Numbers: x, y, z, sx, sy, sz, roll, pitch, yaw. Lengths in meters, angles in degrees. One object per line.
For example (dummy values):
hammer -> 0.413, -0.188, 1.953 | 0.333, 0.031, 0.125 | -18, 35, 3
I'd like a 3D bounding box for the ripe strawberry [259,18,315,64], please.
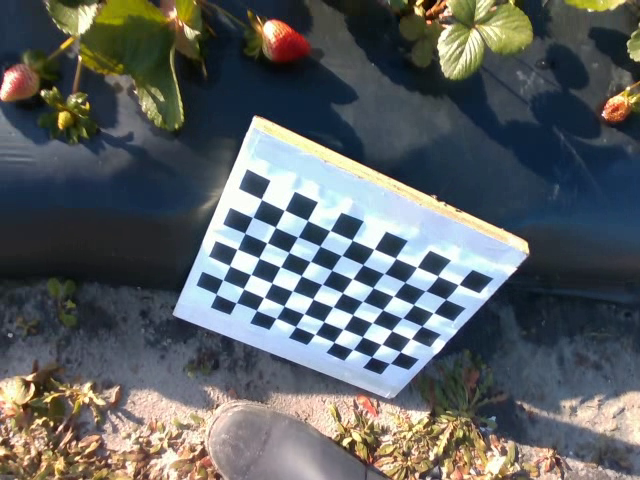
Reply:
ripe strawberry -> -0.031, -0.197, 0.532 | 0.063, 0.045, 0.044 | 8, 38, -1
